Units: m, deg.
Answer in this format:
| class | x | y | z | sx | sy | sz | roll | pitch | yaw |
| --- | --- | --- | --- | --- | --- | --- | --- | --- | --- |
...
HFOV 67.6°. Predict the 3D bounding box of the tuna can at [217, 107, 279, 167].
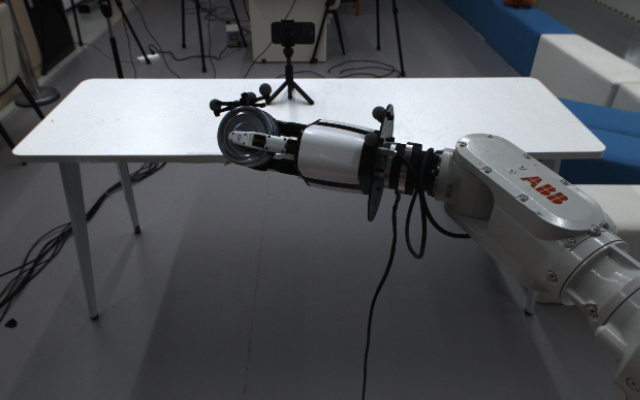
| class | x | y | z | sx | sy | sz | roll | pitch | yaw |
| --- | --- | --- | --- | --- | --- | --- | --- | --- | --- |
| tuna can | -0.099 | -0.085 | 0.688 | 0.085 | 0.085 | 0.034 | 12 | 3 | 14 |
